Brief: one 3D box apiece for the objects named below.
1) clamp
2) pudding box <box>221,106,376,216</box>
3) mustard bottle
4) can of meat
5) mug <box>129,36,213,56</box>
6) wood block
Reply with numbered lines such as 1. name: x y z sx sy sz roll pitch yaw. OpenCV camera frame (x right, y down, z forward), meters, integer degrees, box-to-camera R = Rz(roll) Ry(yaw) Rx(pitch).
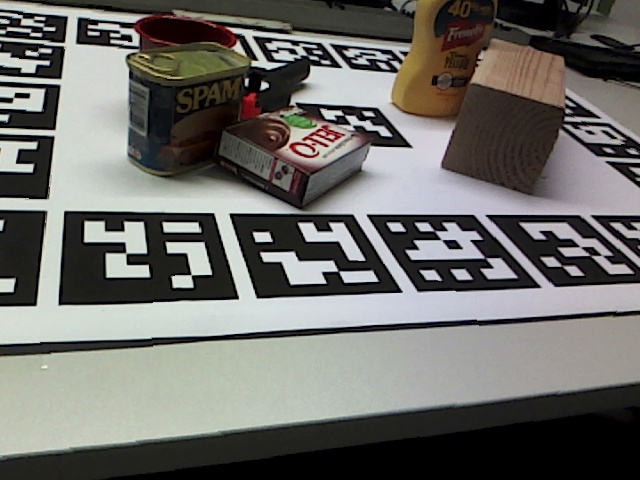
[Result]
1. clamp: -0.071 -0.170 0.670 0.122 0.036 0.165 11 36 -5
2. pudding box: -0.017 -0.073 0.540 0.090 0.038 0.113 29 36 21
3. mustard bottle: 0.145 -0.241 0.695 0.096 0.191 0.059 -5 39 -23
4. can of meat: -0.110 -0.106 0.508 0.058 0.083 0.101 36 40 27
5. mug: -0.136 -0.148 0.610 0.093 0.081 0.117 12 36 -2
6. wood block: 0.203 -0.136 0.662 0.090 0.091 0.206 19 33 12
